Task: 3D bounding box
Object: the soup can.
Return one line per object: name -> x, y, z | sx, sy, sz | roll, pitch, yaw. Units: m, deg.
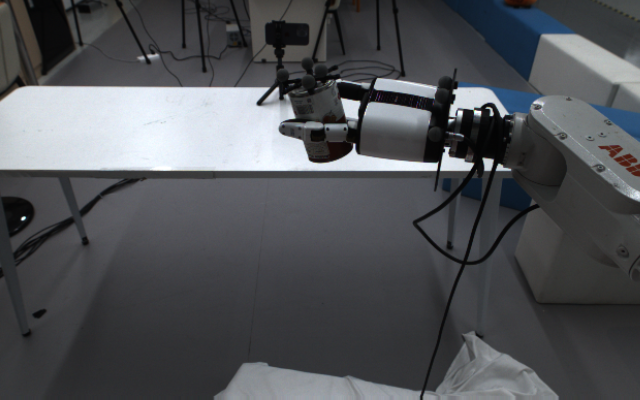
soup can -> 0.002, -0.111, 0.660 | 0.067, 0.101, 0.067 | -13, 31, 8
